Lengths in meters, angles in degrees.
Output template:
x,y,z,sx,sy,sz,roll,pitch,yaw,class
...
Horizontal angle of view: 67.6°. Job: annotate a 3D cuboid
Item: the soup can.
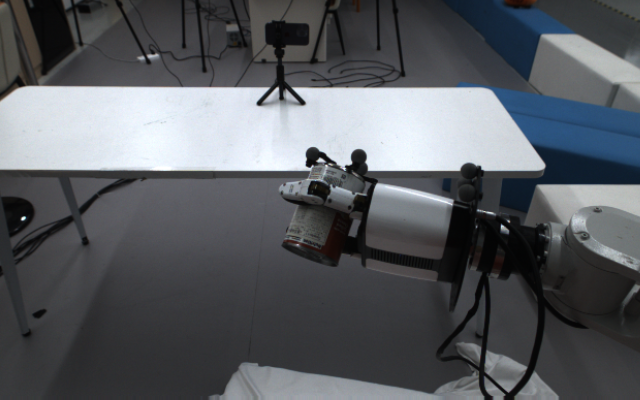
x,y,z,sx,sy,sz,roll,pitch,yaw,class
0.007,0.016,0.552,0.067,0.067,0.101,15,74,18,soup can
